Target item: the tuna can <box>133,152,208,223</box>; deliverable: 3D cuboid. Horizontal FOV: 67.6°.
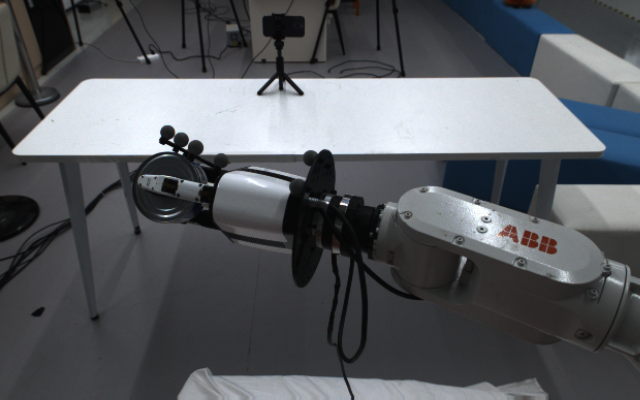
[{"bbox_3d":[-0.180,-0.013,0.590,0.085,0.085,0.034,9,-5,10],"label":"tuna can"}]
